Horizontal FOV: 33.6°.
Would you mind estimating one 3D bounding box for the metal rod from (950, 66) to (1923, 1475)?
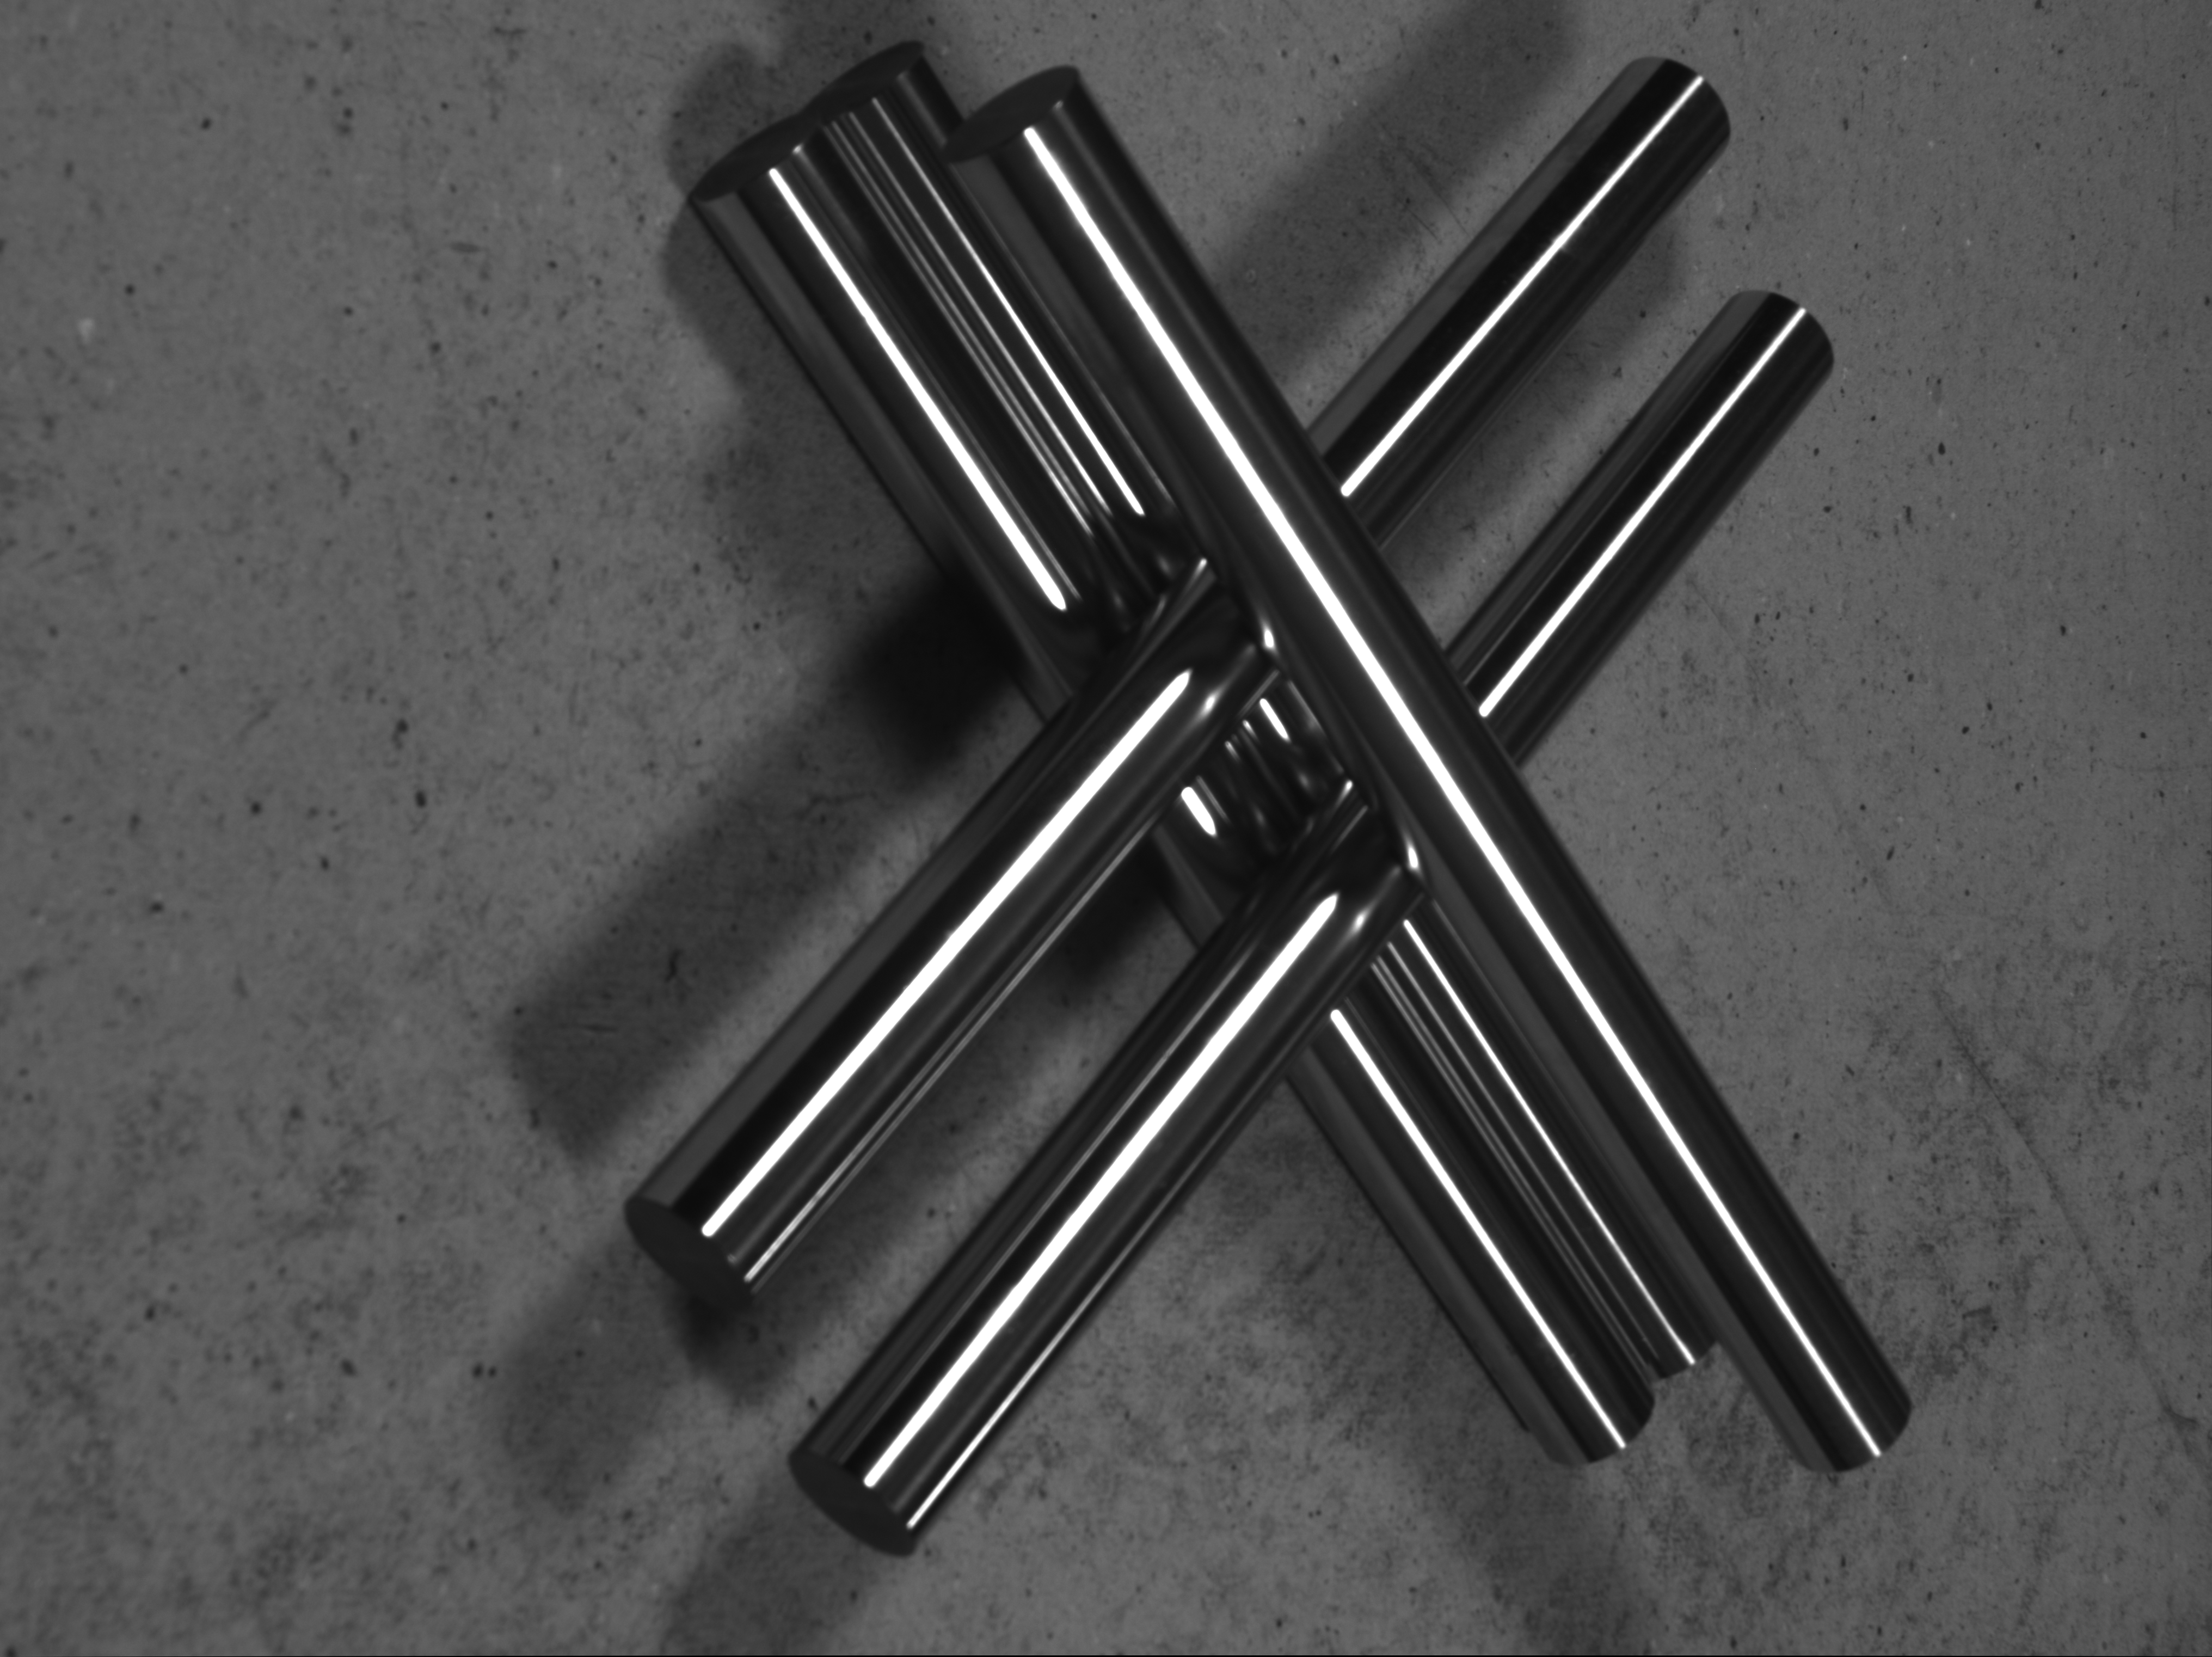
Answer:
[{"bbox_3d":[0.065,0.002,0.626,0.025,0.025,0.301,-50,119,-28],"label":"metal rod"}]

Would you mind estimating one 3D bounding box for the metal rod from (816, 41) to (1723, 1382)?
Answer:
[{"bbox_3d":[0.038,-0.010,0.669,0.025,0.025,0.300,-49,119,-29],"label":"metal rod"}]

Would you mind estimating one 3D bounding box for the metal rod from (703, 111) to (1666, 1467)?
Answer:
[{"bbox_3d":[0.022,0.004,0.655,0.025,0.025,0.300,-49,119,-29],"label":"metal rod"}]

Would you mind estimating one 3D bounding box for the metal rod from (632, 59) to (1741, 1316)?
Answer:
[{"bbox_3d":[0.024,-0.035,0.625,0.300,0.025,0.025,-49,119,-28],"label":"metal rod"}]

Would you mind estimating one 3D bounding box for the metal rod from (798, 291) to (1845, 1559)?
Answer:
[{"bbox_3d":[0.047,0.006,0.644,0.300,0.025,0.025,-49,119,-28],"label":"metal rod"}]
